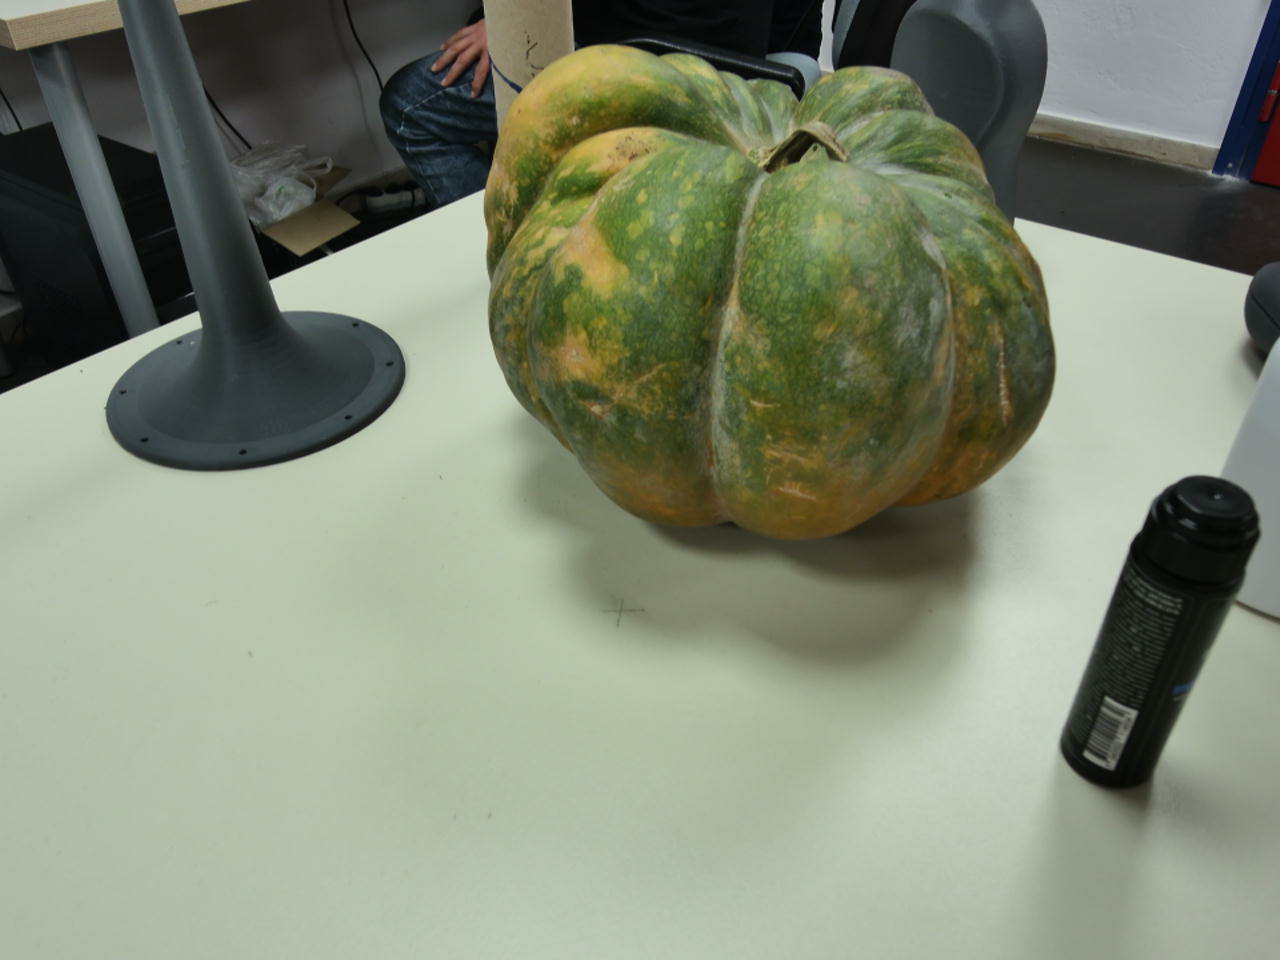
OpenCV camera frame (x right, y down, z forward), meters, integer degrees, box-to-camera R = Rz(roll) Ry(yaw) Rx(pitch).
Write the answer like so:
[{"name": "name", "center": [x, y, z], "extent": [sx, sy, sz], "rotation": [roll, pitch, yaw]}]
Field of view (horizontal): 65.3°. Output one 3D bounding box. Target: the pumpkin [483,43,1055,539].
[{"name": "pumpkin", "center": [0.053, -0.088, 0.434], "extent": [0.237, 0.173, 0.270], "rotation": [-8, 37, -10]}]
